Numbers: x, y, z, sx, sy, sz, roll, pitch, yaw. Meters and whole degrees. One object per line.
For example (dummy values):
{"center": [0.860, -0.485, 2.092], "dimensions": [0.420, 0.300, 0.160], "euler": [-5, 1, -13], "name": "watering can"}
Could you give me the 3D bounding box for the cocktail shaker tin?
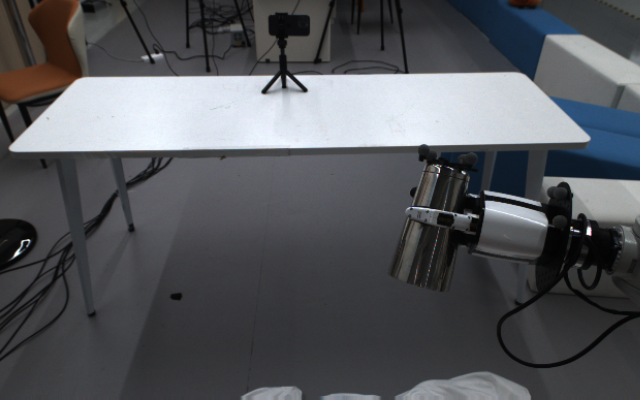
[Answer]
{"center": [0.164, 0.037, 0.708], "dimensions": [0.093, 0.170, 0.093], "euler": [14, 2, 0], "name": "cocktail shaker tin"}
